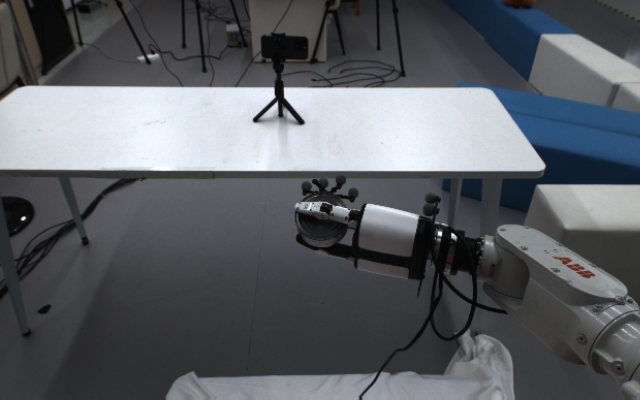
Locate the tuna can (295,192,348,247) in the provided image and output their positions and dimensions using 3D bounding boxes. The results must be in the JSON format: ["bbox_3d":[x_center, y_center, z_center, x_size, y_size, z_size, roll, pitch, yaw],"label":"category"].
[{"bbox_3d":[0.004,0.031,0.774,0.085,0.034,0.085,-2,58,4],"label":"tuna can"}]
